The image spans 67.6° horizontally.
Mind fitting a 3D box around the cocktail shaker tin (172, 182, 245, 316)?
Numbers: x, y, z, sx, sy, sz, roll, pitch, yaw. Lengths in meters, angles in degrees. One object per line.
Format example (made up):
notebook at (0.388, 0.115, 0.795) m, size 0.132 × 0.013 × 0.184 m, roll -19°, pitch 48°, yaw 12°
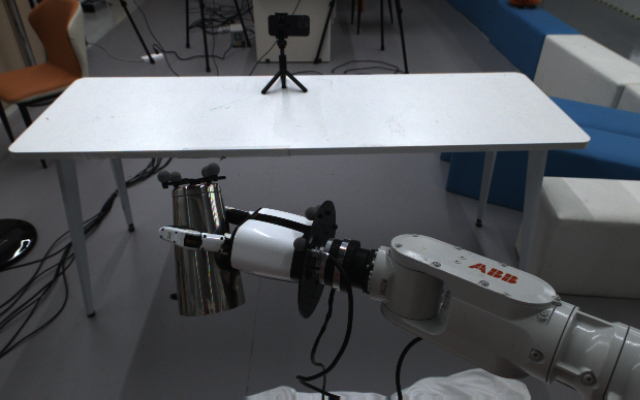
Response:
cocktail shaker tin at (-0.161, 0.066, 0.674) m, size 0.093 × 0.170 × 0.093 m, roll -8°, pitch 1°, yaw 0°
